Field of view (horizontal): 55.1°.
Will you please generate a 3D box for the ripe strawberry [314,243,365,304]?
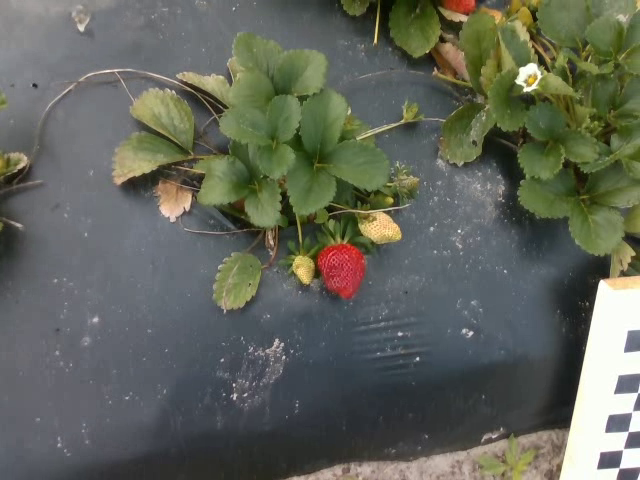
[{"bbox_3d":[0.020,0.031,0.523,0.046,0.059,0.046,-8,-43,-1],"label":"ripe strawberry"}]
